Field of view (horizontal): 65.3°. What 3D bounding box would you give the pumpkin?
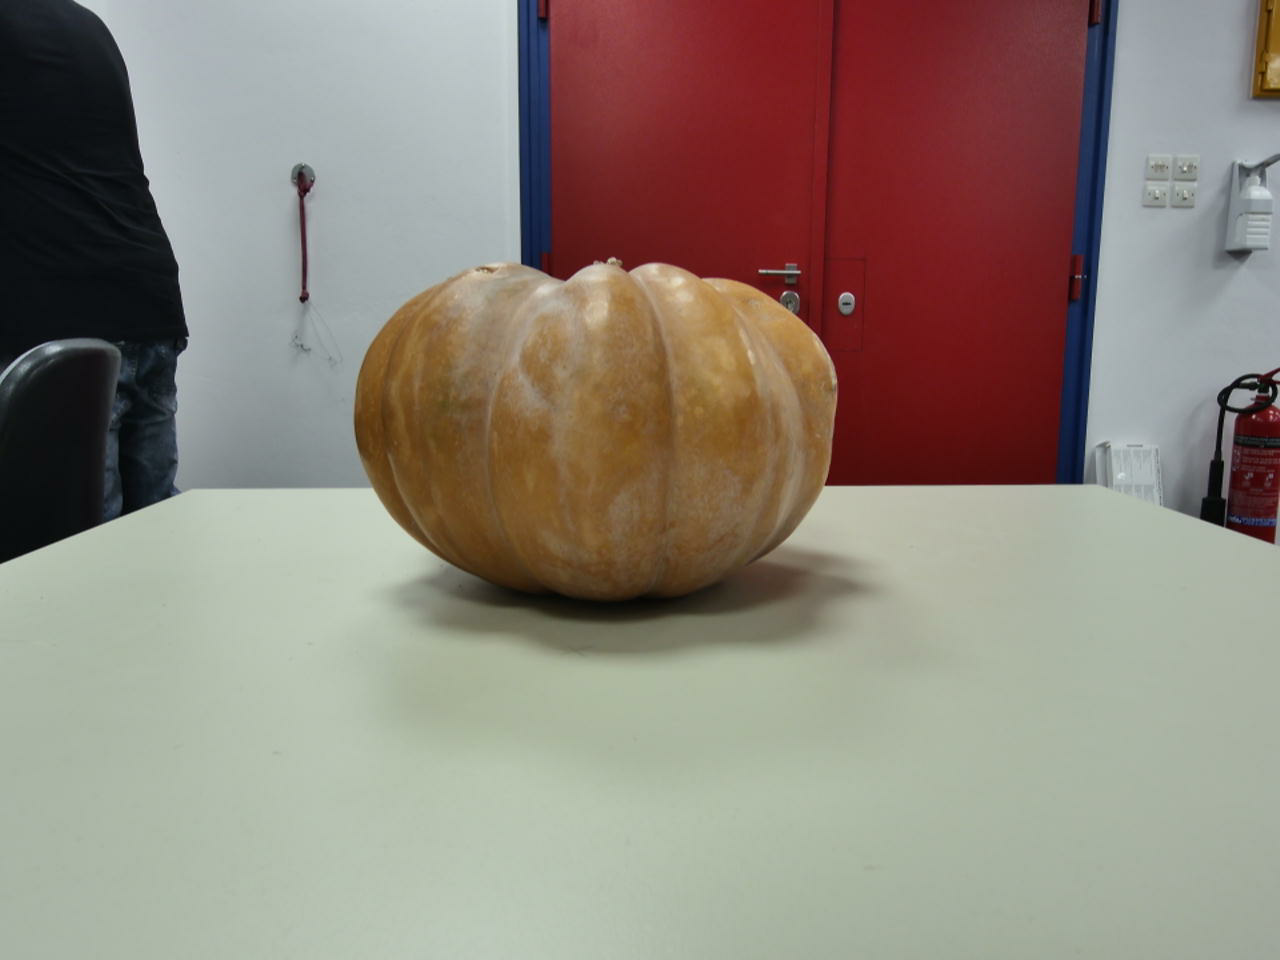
[{"bbox_3d":[-0.021,-0.032,0.562,0.277,0.181,0.277,0,7,0],"label":"pumpkin"}]
